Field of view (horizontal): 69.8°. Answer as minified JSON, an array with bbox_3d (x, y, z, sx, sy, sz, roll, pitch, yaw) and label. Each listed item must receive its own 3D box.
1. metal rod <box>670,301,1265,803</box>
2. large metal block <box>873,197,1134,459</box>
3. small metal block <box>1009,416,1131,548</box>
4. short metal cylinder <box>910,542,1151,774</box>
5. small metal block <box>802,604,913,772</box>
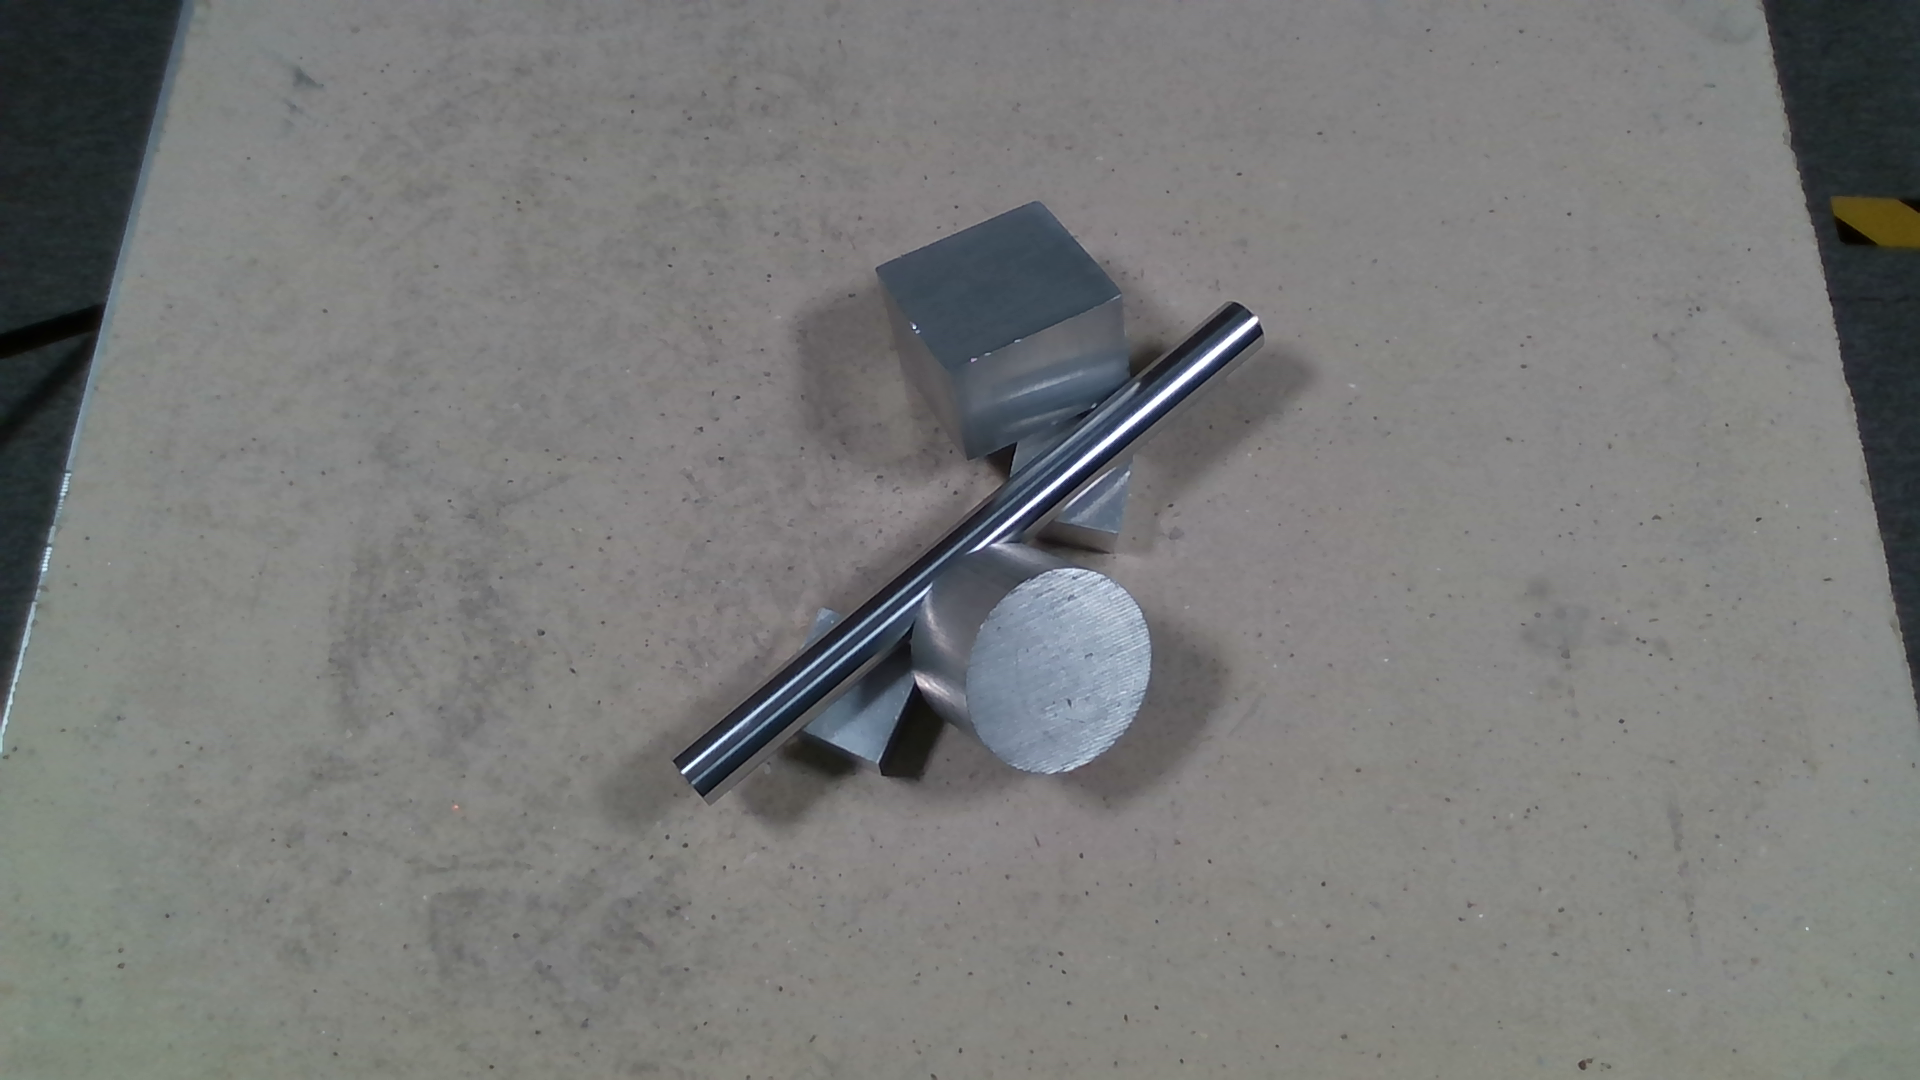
[{"bbox_3d":[0.009,-0.001,0.562,0.300,0.025,0.025,-39,75,-13],"label":"metal rod"},{"bbox_3d":[0.019,-0.092,0.591,0.080,0.050,0.080,-25,49,-8],"label":"large metal block"},{"bbox_3d":[0.047,-0.027,0.598,0.050,0.025,0.050,11,71,4],"label":"small metal block"},{"bbox_3d":[0.027,0.045,0.538,0.080,0.050,0.080,-6,104,-25],"label":"short metal cylinder"},{"bbox_3d":[-0.045,0.062,0.567,0.050,0.025,0.050,23,72,8],"label":"small metal block"}]
